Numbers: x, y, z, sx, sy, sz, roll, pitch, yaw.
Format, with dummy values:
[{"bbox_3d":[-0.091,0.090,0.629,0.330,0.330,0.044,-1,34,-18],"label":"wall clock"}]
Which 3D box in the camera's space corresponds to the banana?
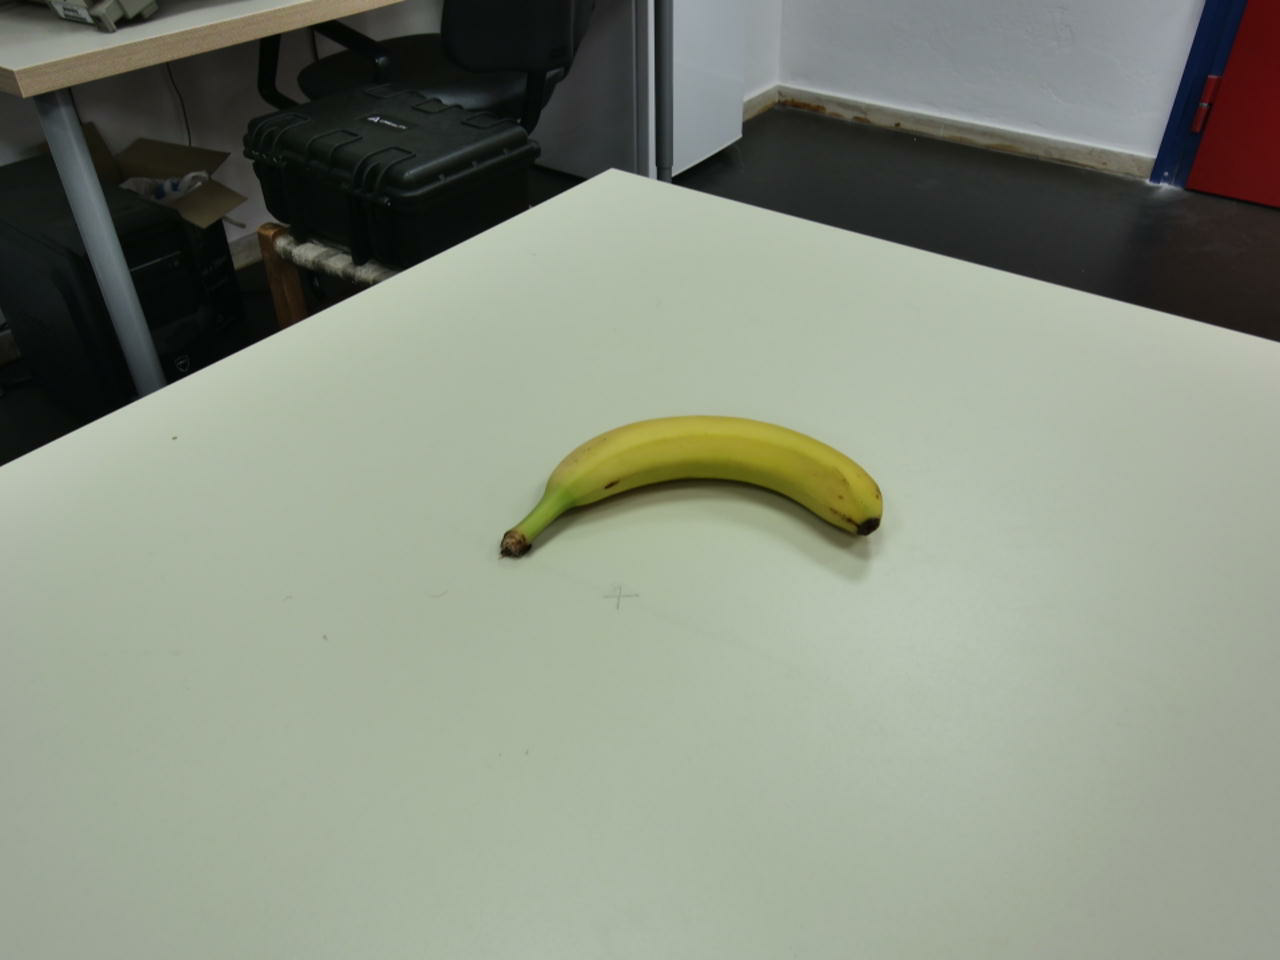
[{"bbox_3d":[0.026,-0.001,0.541,0.196,0.041,0.094,1,37,2],"label":"banana"}]
